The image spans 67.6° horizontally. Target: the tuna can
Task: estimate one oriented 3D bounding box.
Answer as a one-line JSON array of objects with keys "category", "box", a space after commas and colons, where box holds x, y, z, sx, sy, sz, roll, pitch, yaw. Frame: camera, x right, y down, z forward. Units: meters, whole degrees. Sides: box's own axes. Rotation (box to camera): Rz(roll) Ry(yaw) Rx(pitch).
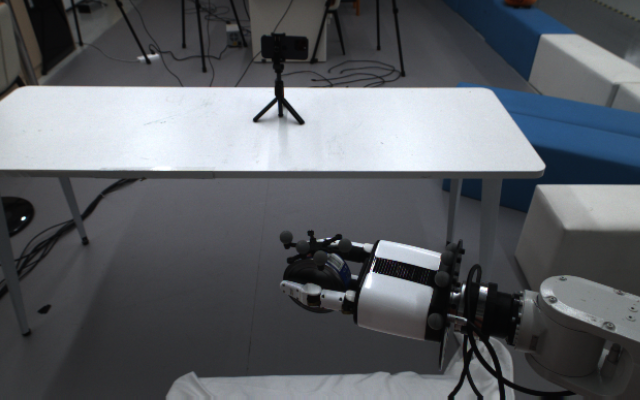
[{"category": "tuna can", "box": [-0.001, 0.103, 0.636, 0.085, 0.085, 0.034, 14, 29, 16]}]
